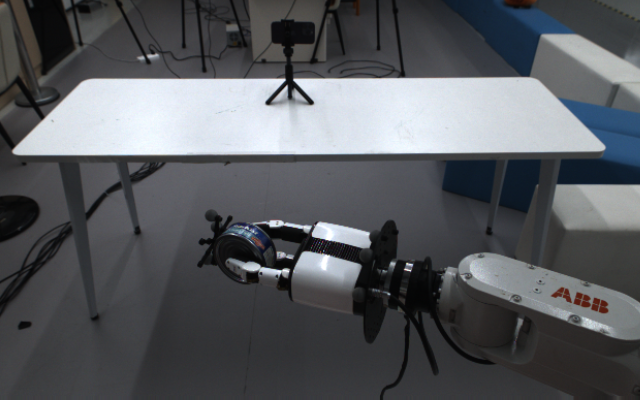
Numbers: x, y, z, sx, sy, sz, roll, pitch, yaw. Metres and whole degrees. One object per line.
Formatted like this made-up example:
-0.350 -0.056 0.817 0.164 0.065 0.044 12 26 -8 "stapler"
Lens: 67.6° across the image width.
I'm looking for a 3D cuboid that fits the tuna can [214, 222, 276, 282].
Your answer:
-0.102 0.080 0.678 0.085 0.085 0.034 13 31 16 "tuna can"
